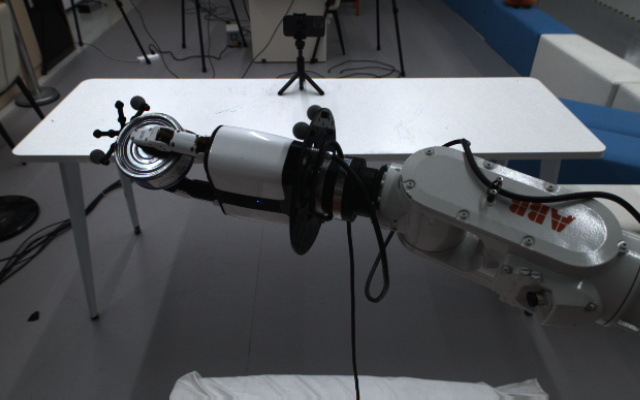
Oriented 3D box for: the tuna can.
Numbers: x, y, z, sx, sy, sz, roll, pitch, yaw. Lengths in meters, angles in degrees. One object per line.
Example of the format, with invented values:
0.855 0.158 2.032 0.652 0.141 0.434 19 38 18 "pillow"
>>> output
-0.188 -0.053 0.562 0.085 0.034 0.085 -1 75 4 "tuna can"
